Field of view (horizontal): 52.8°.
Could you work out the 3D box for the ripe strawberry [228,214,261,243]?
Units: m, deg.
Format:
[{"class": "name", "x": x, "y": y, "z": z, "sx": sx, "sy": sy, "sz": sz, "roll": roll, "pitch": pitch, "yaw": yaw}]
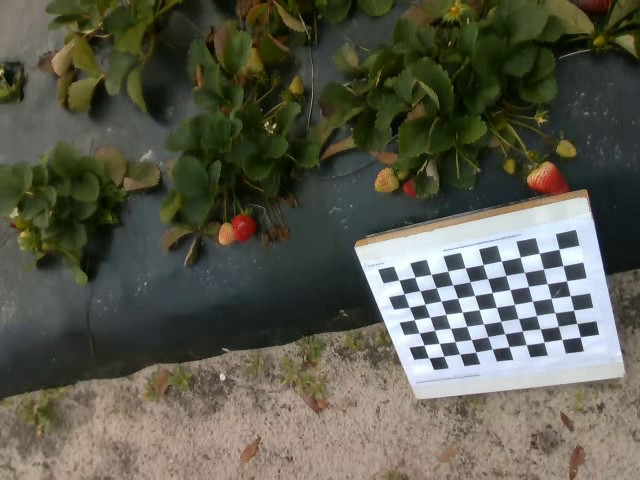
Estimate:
[{"class": "ripe strawberry", "x": -0.105, "y": -0.015, "z": 0.852, "sx": 0.034, "sy": 0.041, "sz": 0.033, "roll": 16, "pitch": -27, "yaw": 9}]
